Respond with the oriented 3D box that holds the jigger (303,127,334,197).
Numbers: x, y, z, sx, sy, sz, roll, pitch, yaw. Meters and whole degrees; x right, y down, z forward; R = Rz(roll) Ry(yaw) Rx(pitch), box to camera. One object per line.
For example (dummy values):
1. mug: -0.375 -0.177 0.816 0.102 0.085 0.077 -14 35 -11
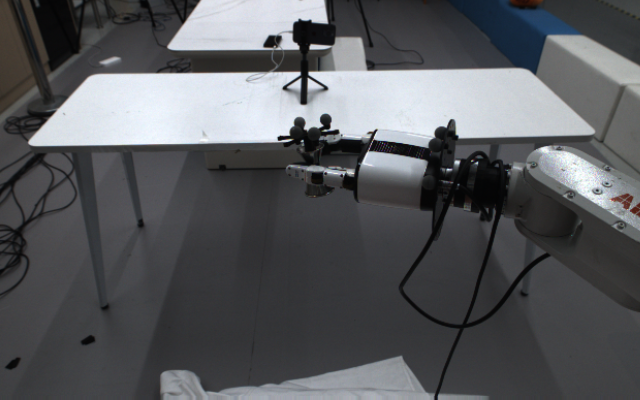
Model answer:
1. jigger: -0.005 -0.046 0.691 0.043 0.071 0.043 -10 24 5
